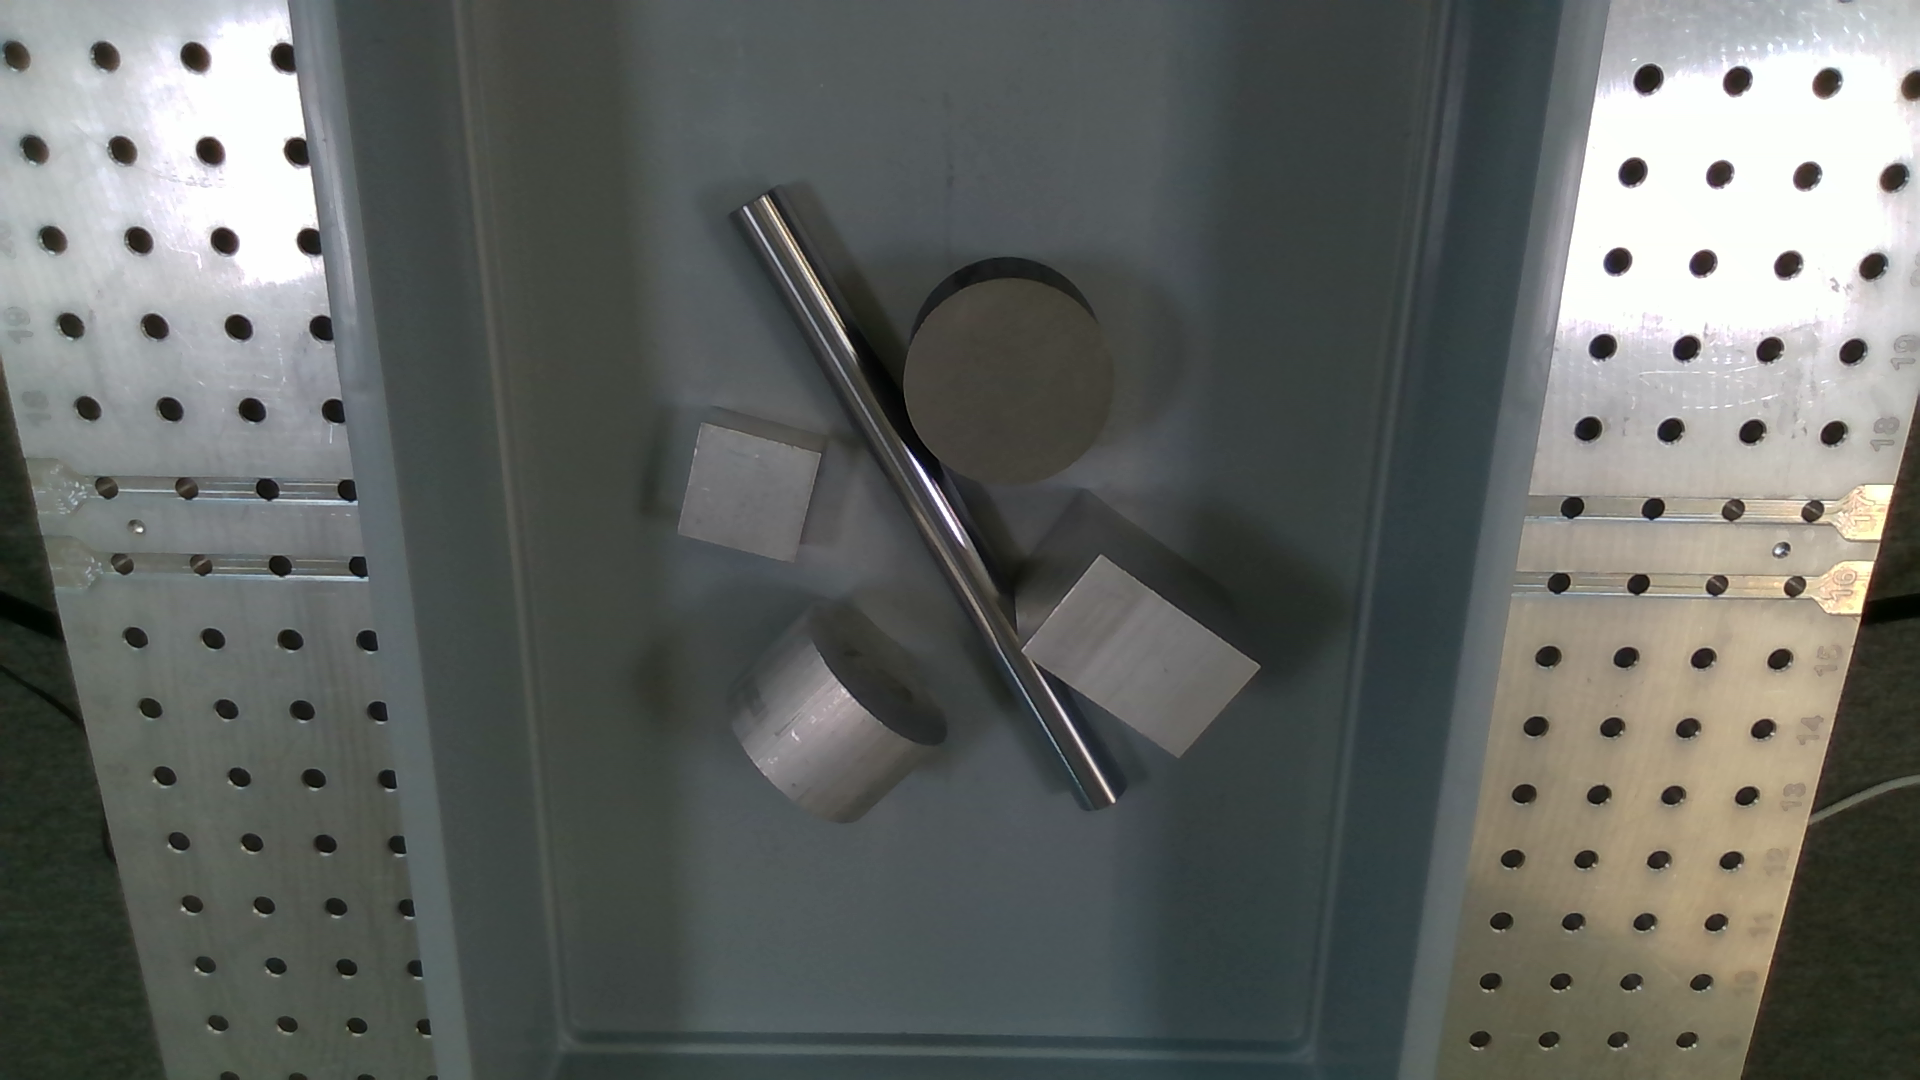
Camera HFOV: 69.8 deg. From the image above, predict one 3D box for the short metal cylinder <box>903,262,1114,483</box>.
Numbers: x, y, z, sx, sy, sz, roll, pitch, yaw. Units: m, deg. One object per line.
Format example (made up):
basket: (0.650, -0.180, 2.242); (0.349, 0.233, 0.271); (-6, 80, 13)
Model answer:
short metal cylinder: (0.019, -0.068, 0.545); (0.080, 0.050, 0.080); (0, 110, 0)

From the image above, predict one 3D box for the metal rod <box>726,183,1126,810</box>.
metal rod: (-0.008, -0.009, 0.581); (0.025, 0.025, 0.301); (-27, 108, 10)

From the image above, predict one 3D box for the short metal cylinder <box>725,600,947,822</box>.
short metal cylinder: (-0.052, 0.072, 0.581); (0.080, 0.080, 0.050); (41, 105, -14)

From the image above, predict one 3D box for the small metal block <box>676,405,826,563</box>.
small metal block: (-0.087, -0.024, 0.575); (0.050, 0.025, 0.050); (14, 110, -5)

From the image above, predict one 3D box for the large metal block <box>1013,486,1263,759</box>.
large metal block: (0.070, 0.032, 0.567); (0.080, 0.080, 0.050); (34, 107, -12)
